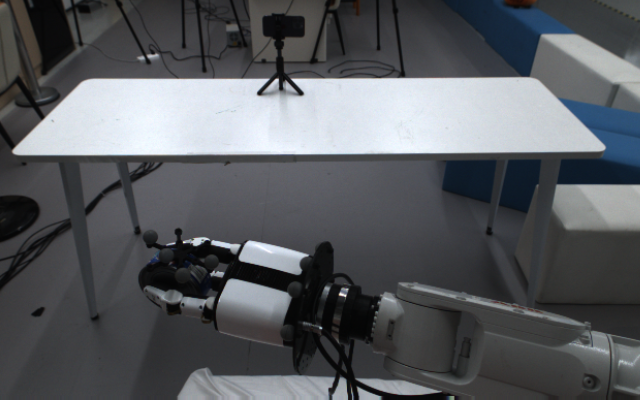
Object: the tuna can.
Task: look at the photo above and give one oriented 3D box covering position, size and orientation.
[{"bbox_3d":[-0.181,0.105,0.615,0.085,0.085,0.034,9,35,10],"label":"tuna can"}]
